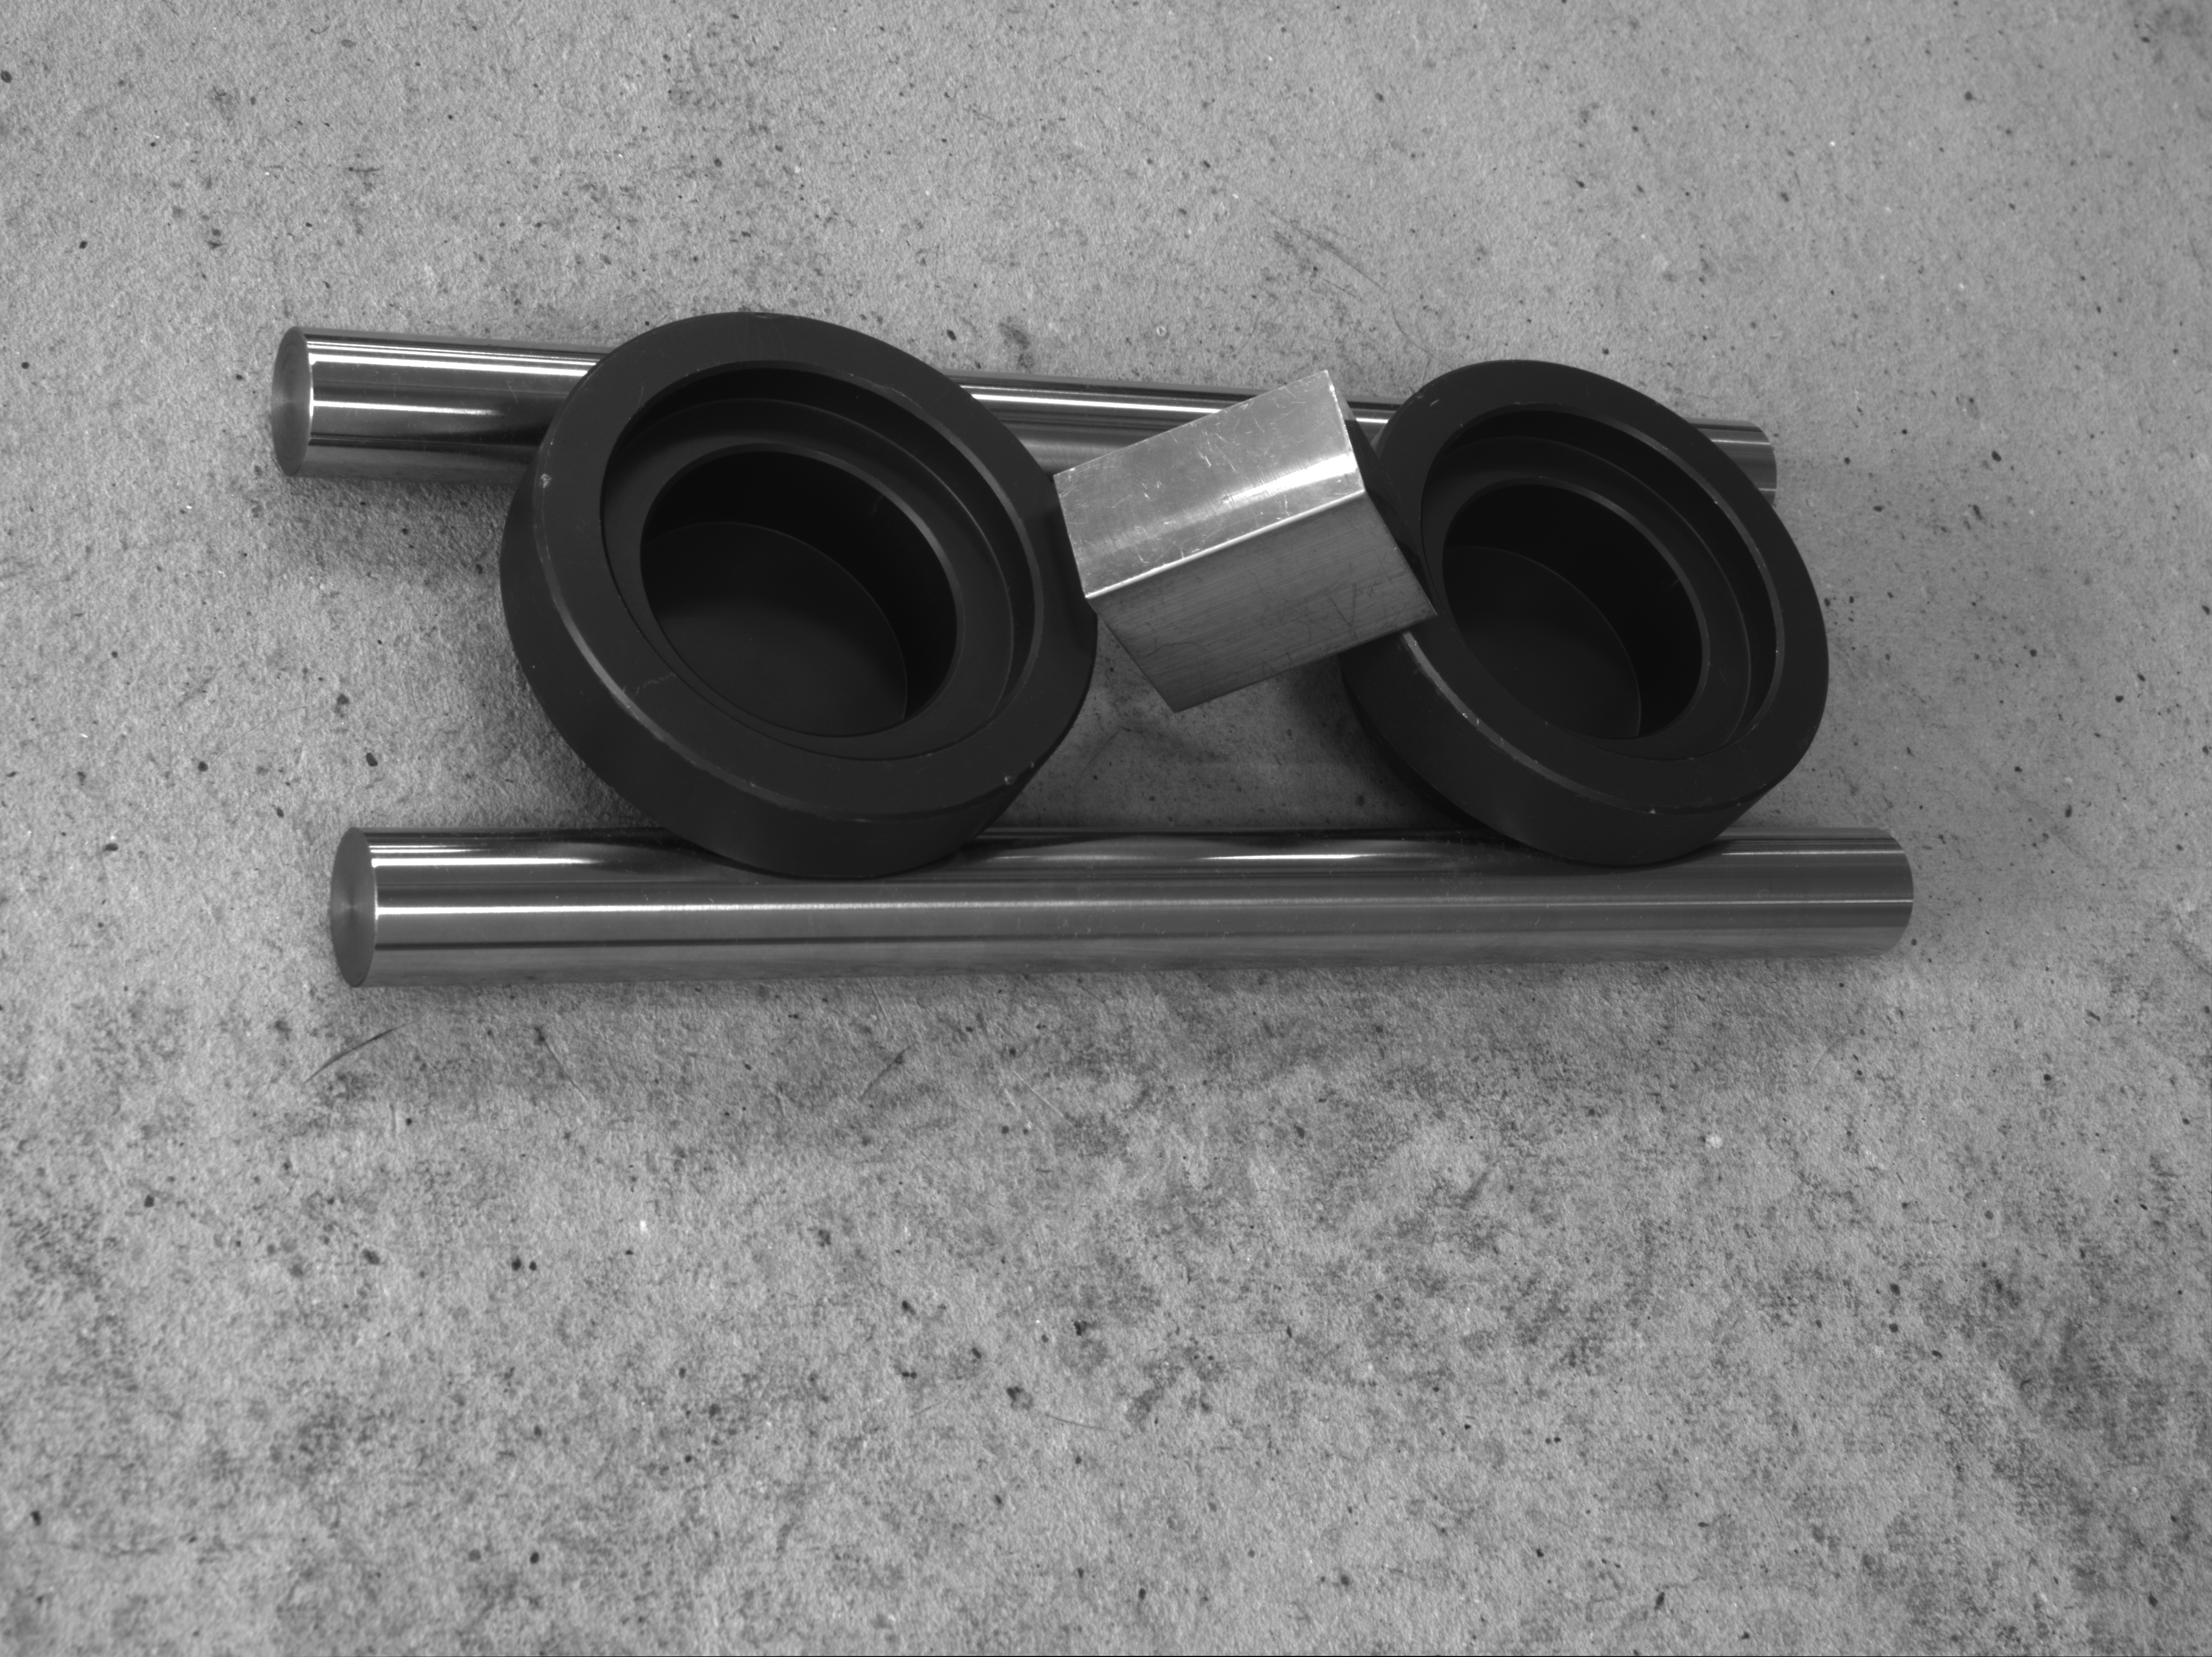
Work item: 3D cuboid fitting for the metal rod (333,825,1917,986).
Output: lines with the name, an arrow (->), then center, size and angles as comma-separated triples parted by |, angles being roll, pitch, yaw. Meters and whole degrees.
metal rod -> 0.016, 0.012, 0.640 | 0.301, 0.025, 0.025 | 0, 62, -28

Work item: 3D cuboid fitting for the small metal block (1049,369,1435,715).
small metal block -> 0.024, -0.048, 0.632 | 0.050, 0.050, 0.025 | -20, 64, 11

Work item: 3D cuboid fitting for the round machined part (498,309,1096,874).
round machined part -> -0.055, -0.035, 0.616 | 0.098, 0.042, 0.098 | 13, 56, -21

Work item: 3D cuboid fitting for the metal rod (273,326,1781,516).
metal rod -> -0.002, -0.071, 0.681 | 0.301, 0.025, 0.025 | 0, 62, -28

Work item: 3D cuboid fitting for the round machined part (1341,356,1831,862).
round machined part -> 0.083, -0.037, 0.689 | 0.098, 0.042, 0.098 | 13, 56, -21
